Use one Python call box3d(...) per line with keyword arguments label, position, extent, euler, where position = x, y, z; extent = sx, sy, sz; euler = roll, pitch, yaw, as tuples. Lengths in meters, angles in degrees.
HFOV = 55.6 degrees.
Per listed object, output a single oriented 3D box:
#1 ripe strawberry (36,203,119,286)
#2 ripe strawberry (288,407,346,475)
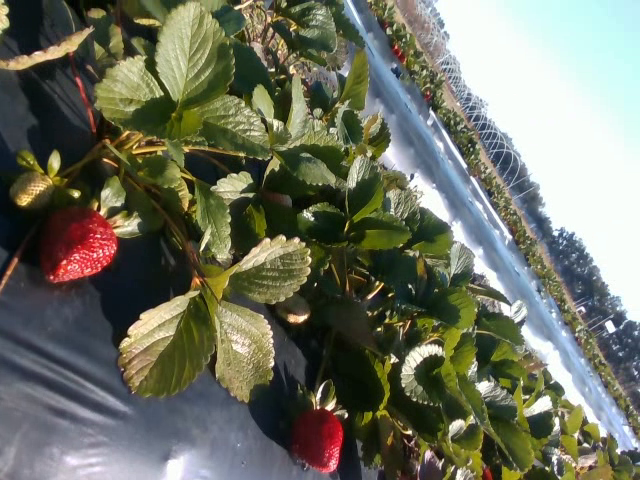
box3d(label="ripe strawberry", position=(-0.120, 0.005, 0.294), extent=(0.043, 0.041, 0.053), euler=(-29, 30, 3))
box3d(label="ripe strawberry", position=(-0.001, 0.136, 0.399), extent=(0.043, 0.042, 0.050), euler=(-15, 13, -6))
